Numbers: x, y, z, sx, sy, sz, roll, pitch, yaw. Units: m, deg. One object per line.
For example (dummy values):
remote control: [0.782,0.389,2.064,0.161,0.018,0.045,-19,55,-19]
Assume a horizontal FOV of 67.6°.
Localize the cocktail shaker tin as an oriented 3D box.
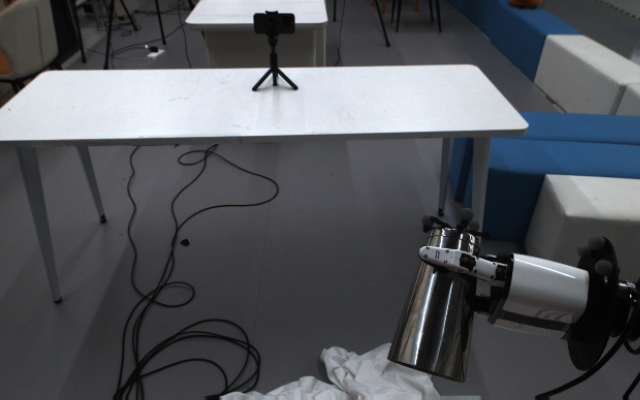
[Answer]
cocktail shaker tin: [0.150,0.122,0.599,0.093,0.093,0.170,13,71,15]
